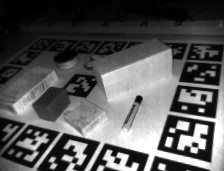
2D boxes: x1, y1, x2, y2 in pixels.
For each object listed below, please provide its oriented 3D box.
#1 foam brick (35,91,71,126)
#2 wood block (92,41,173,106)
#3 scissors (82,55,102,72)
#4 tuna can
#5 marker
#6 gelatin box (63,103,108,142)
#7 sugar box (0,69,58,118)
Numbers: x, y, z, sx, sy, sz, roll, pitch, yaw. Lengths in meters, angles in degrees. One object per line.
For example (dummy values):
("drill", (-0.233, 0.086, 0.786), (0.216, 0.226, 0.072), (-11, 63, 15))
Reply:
("foam brick", (-0.160, 0.061, 0.586), (0.052, 0.052, 0.078), (9, 46, 27))
("wood block", (0.060, -0.037, 0.612), (0.207, 0.092, 0.089), (-23, 39, -10))
("scissors", (-0.011, -0.067, 0.723), (0.200, 0.016, 0.088), (12, 47, 32))
("tuna can", (-0.172, -0.089, 0.782), (0.085, 0.034, 0.085), (-9, 41, 8))
("marker", (0.046, 0.079, 0.530), (0.019, 0.020, 0.121), (9, 47, 27))
("gelatin box", (-0.068, 0.090, 0.547), (0.088, 0.030, 0.074), (24, 54, 38))
("sugar box", (-0.263, 0.018, 0.683), (0.092, 0.046, 0.177), (12, 47, 28))
